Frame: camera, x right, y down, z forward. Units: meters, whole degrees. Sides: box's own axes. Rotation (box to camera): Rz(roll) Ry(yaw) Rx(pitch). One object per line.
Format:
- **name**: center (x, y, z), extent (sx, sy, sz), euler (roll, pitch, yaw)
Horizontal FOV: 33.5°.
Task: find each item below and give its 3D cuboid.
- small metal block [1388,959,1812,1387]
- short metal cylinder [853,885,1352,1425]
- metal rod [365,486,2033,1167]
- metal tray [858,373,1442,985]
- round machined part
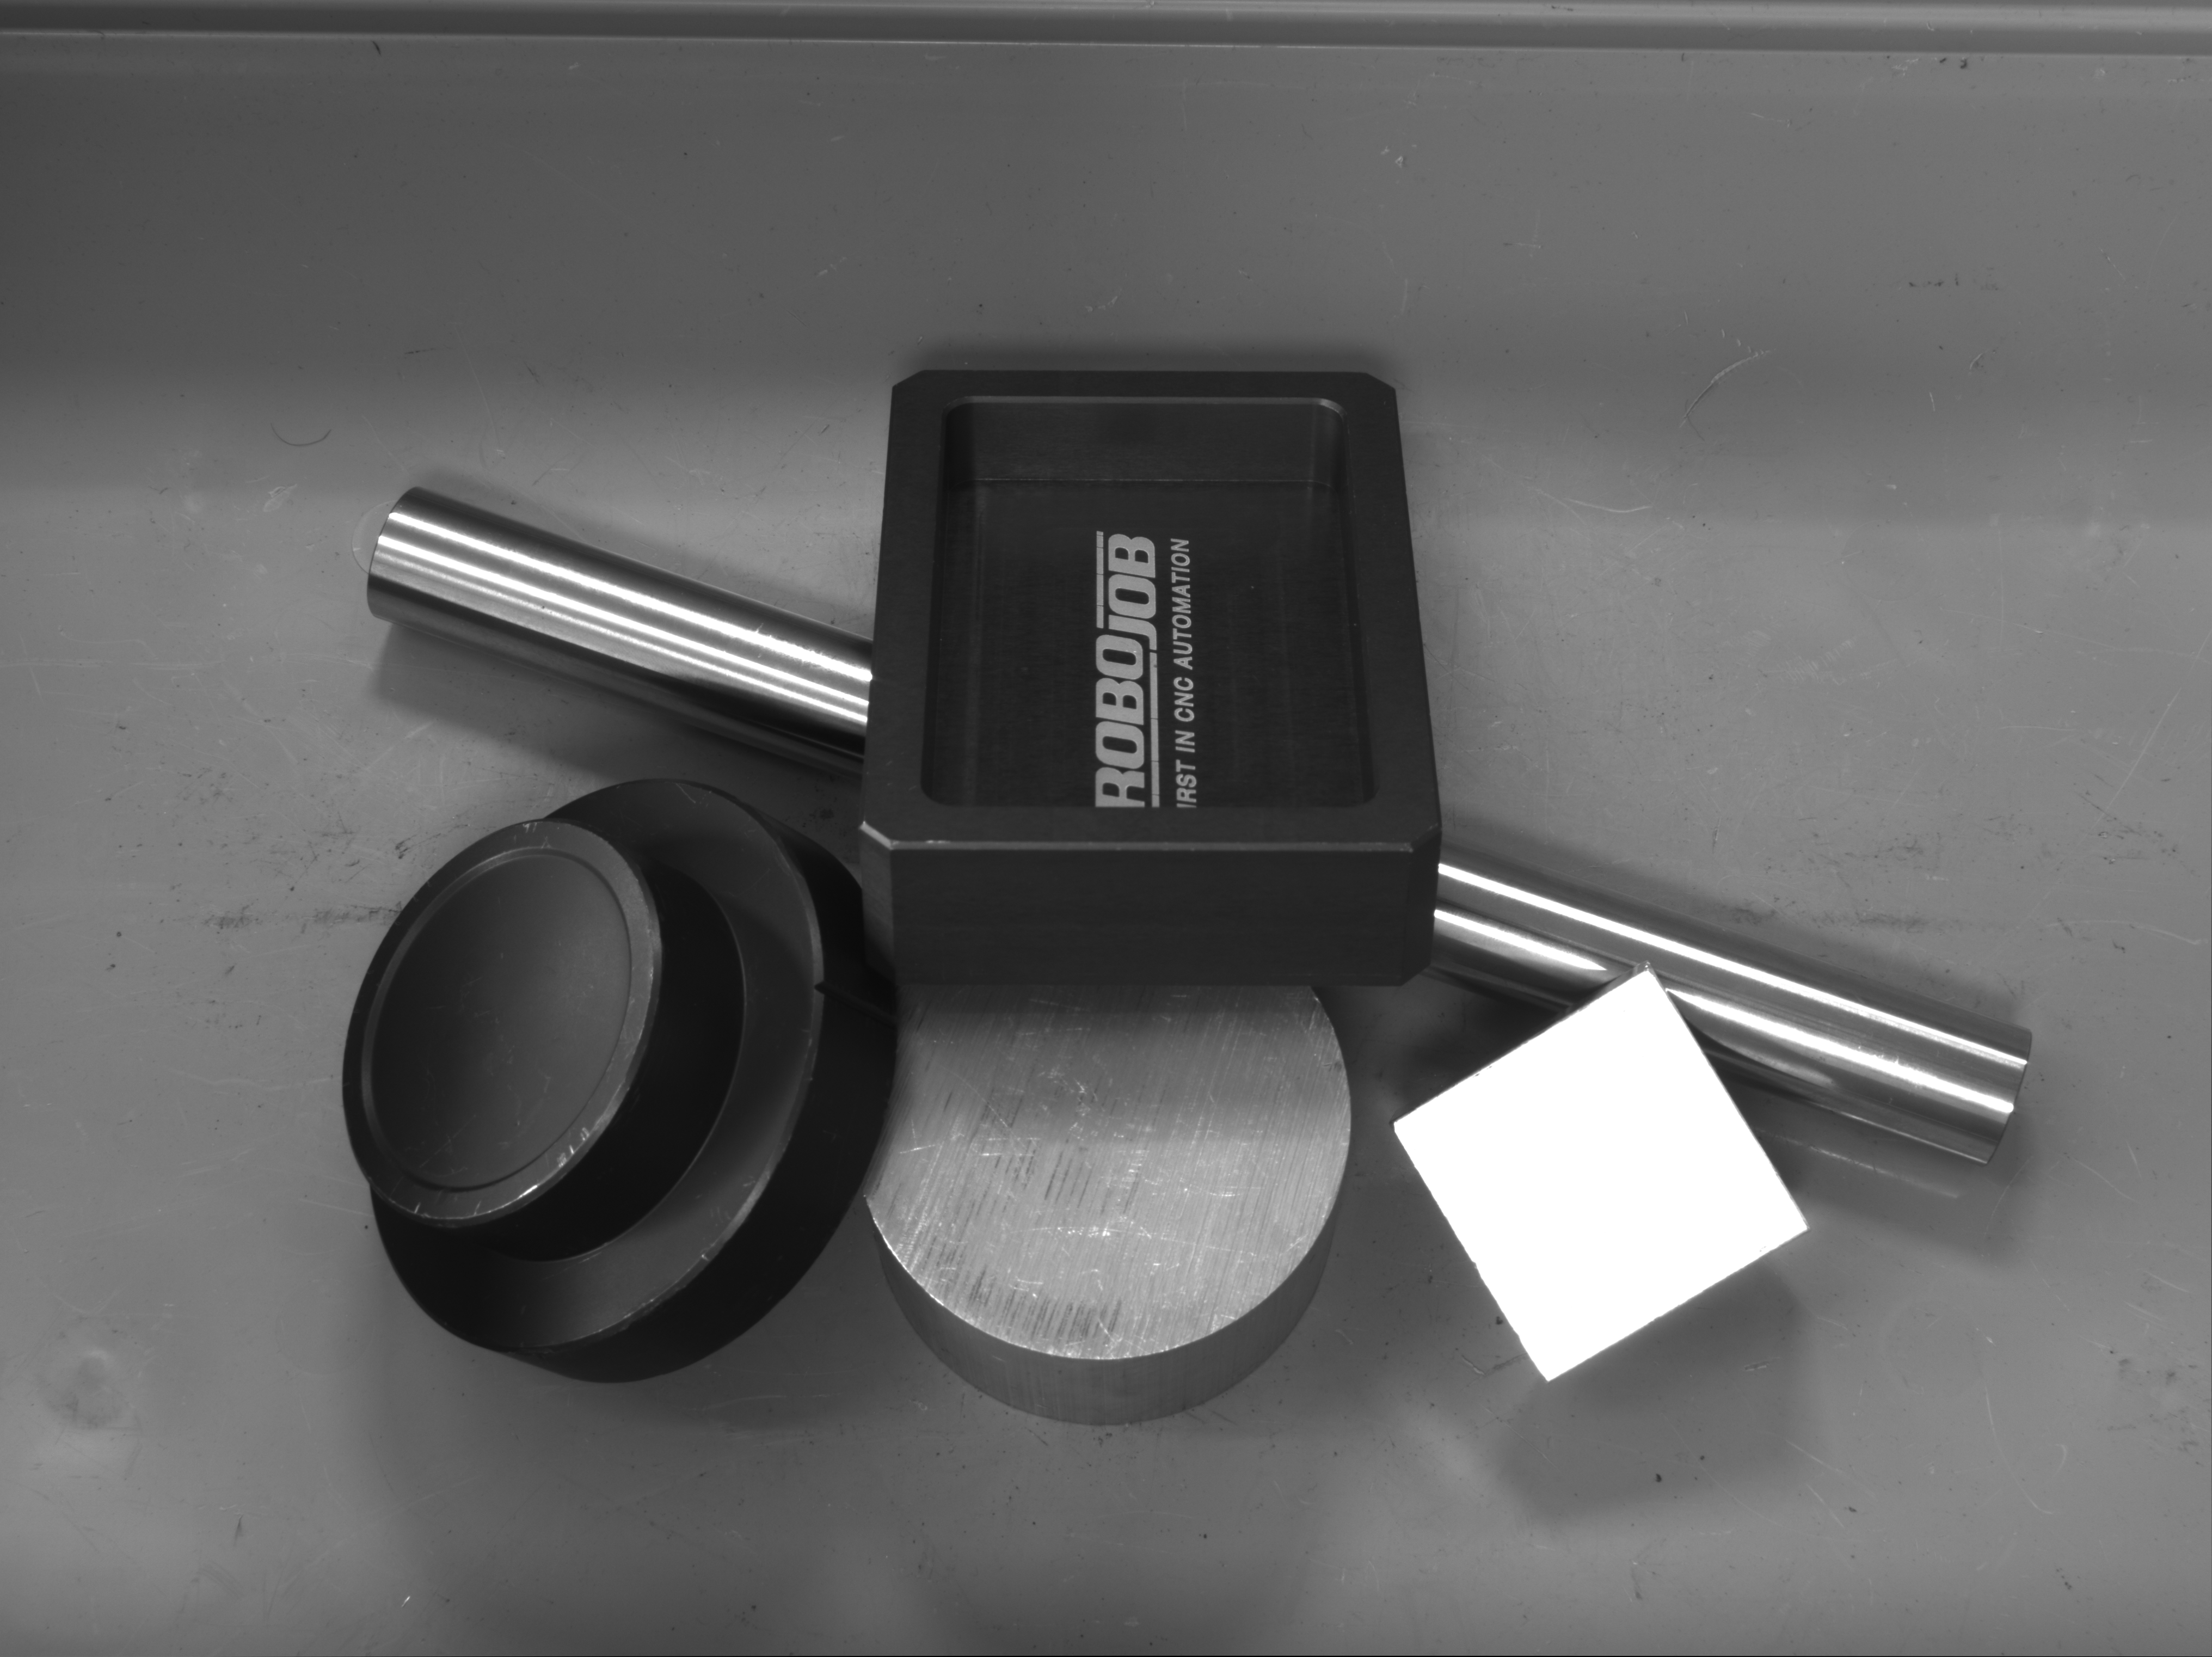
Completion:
- **small metal block**: center (0.082, 0.057, 0.612), extent (0.050, 0.025, 0.050), euler (-31, 88, 6)
- **short metal cylinder**: center (-0.001, 0.055, 0.611), extent (0.080, 0.050, 0.080), euler (0, 70, 0)
- **metal rod**: center (0.013, -0.002, 0.645), extent (0.300, 0.025, 0.025), euler (19, 71, 7)
- **metal tray**: center (0.007, -0.028, 0.621), extent (0.090, 0.030, 0.130), euler (0, 41, 0)
- **round machined part**: center (-0.085, 0.037, 0.596), extent (0.098, 0.042, 0.098), euler (-15, 60, 29)
